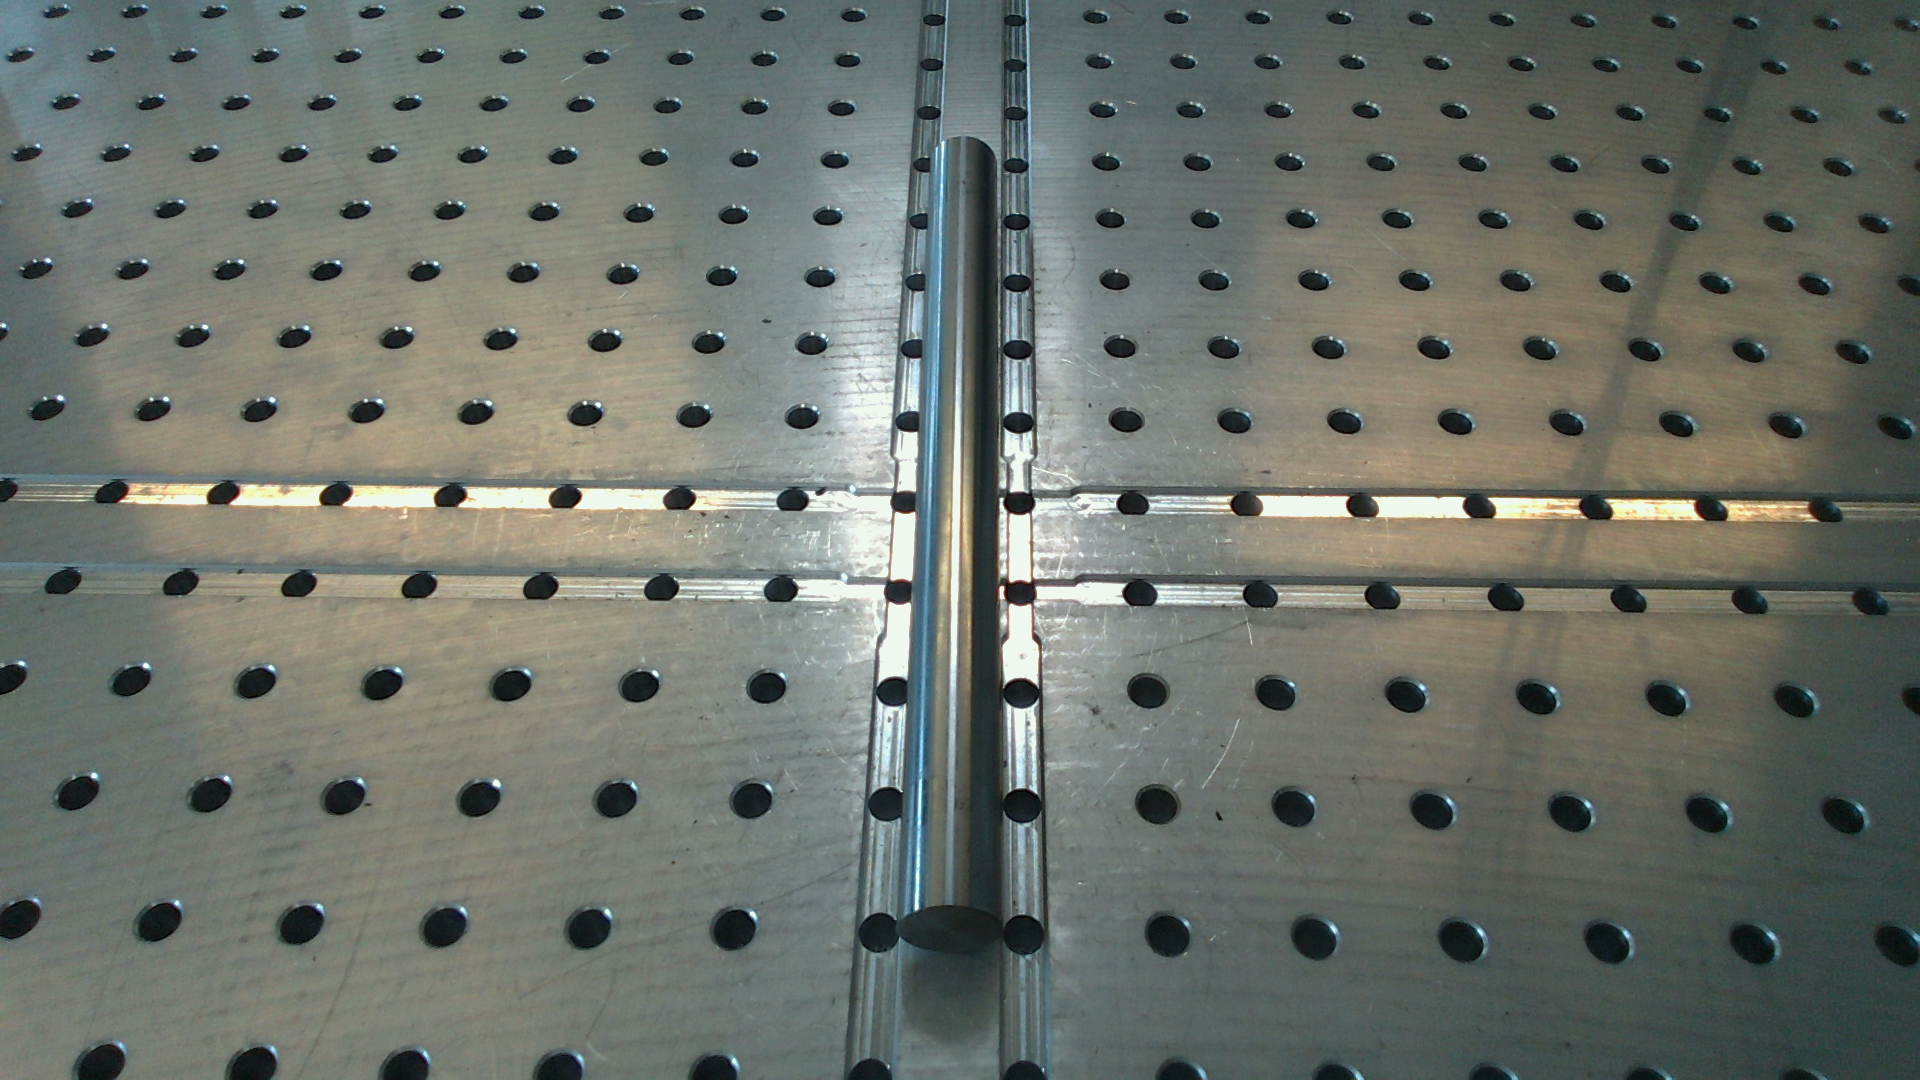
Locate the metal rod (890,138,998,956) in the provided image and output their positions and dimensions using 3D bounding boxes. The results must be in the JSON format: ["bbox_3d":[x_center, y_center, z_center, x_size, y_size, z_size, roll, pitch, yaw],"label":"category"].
[{"bbox_3d":[-0.002,-0.024,0.415,0.025,0.025,0.300,0,50,1],"label":"metal rod"}]
